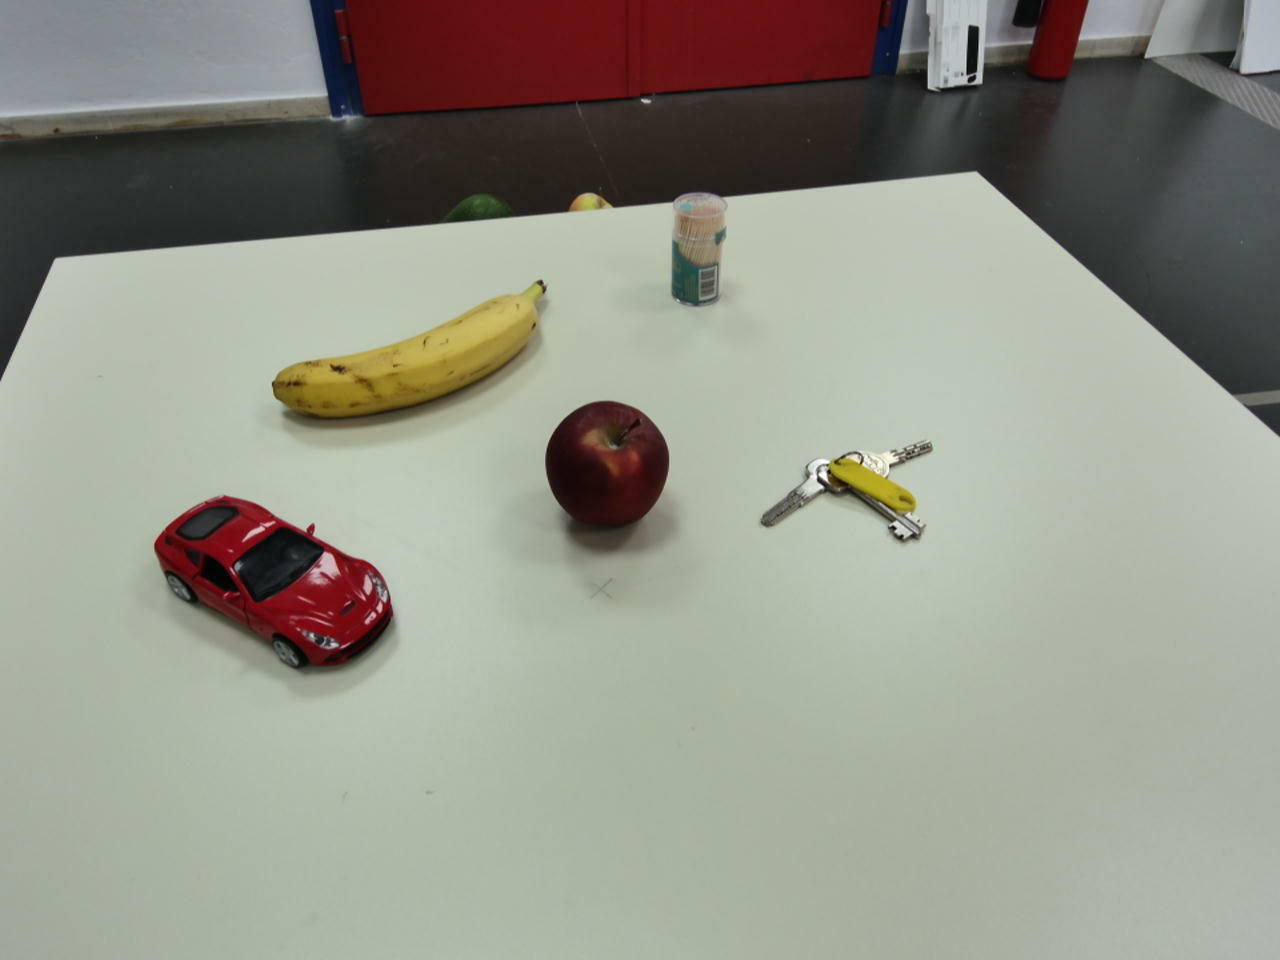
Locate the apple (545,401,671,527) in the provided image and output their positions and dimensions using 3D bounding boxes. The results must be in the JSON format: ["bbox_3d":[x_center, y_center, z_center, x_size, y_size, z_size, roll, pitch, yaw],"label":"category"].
[{"bbox_3d":[-0.018,-0.008,0.557,0.070,0.072,0.070,0,39,0],"label":"apple"}]
